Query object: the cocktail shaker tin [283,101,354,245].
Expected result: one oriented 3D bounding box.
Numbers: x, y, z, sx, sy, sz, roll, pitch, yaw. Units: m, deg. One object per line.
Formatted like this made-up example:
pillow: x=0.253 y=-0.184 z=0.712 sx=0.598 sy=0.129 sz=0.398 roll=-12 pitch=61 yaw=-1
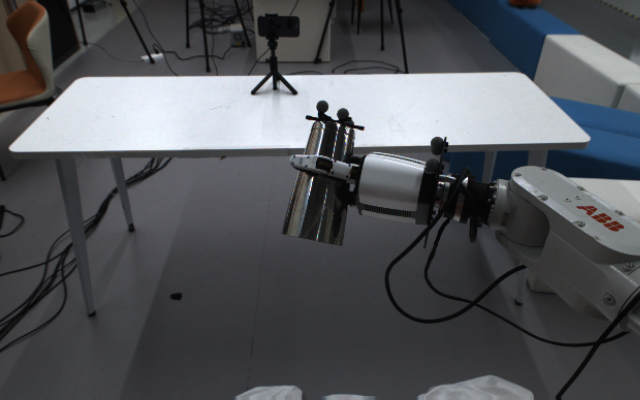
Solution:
cocktail shaker tin: x=0.005 y=-0.025 z=0.713 sx=0.093 sy=0.170 sz=0.093 roll=11 pitch=-5 yaw=1
